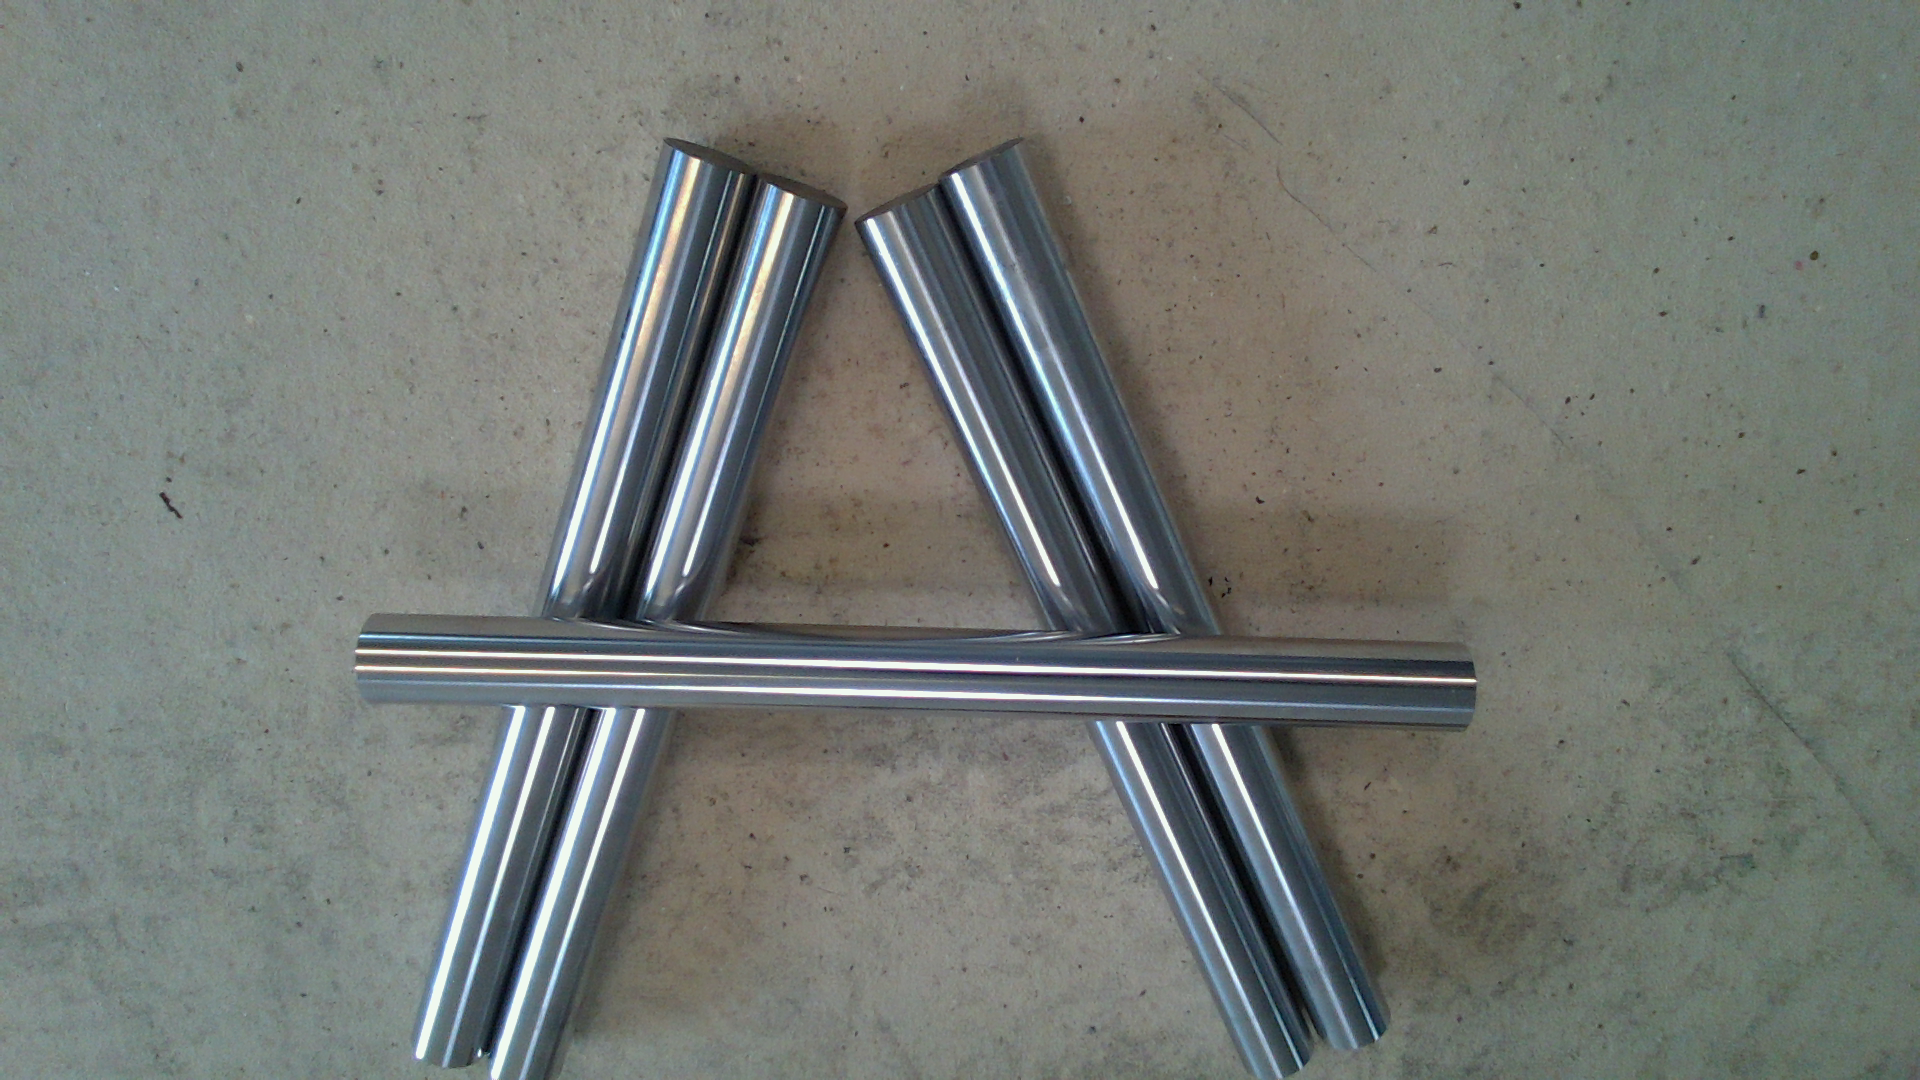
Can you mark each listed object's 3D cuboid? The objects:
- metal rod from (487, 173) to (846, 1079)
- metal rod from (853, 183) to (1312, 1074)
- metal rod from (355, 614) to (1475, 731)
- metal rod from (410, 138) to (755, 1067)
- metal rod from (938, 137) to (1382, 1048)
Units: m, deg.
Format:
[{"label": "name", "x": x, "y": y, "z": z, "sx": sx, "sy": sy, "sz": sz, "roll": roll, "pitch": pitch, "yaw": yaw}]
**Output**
[{"label": "metal rod", "x": -0.093, "y": 0.040, "z": 0.408, "sx": 0.025, "sy": 0.025, "sz": 0.300, "roll": 19, "pitch": 109, "yaw": -7}, {"label": "metal rod", "x": 0.044, "y": 0.039, "z": 0.409, "sx": 0.025, "sy": 0.025, "sz": 0.300, "roll": -23, "pitch": 109, "yaw": 8}, {"label": "metal rod", "x": -0.011, "y": 0.037, "z": 0.381, "sx": 0.300, "sy": 0.025, "sz": 0.025, "roll": 1, "pitch": 110, "yaw": -1}, {"label": "metal rod", "x": -0.116, "y": 0.032, "z": 0.405, "sx": 0.025, "sy": 0.025, "sz": 0.300, "roll": 19, "pitch": 109, "yaw": -7}, {"label": "metal rod", "x": 0.066, "y": 0.029, "z": 0.406, "sx": 0.025, "sy": 0.025, "sz": 0.300, "roll": -23, "pitch": 109, "yaw": 8}]
